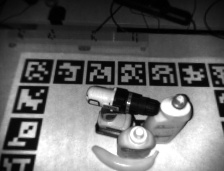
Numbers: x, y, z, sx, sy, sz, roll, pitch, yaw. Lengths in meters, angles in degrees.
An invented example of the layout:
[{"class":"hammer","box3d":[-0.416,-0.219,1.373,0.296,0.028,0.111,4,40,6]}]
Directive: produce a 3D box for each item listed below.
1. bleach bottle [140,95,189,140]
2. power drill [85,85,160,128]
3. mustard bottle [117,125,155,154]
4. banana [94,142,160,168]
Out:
[{"class":"bleach bottle","box3d":[0.133,0.074,0.572,0.102,0.252,0.067,3,58,2]},{"class":"power drill","box3d":[0.023,0.062,0.580,0.184,0.187,0.057,12,63,4]},{"class":"mustard bottle","box3d":[0.062,0.135,0.567,0.096,0.192,0.058,1,64,0]},{"class":"banana","box3d":[0.041,0.200,0.631,0.197,0.039,0.074,4,65,3]}]
